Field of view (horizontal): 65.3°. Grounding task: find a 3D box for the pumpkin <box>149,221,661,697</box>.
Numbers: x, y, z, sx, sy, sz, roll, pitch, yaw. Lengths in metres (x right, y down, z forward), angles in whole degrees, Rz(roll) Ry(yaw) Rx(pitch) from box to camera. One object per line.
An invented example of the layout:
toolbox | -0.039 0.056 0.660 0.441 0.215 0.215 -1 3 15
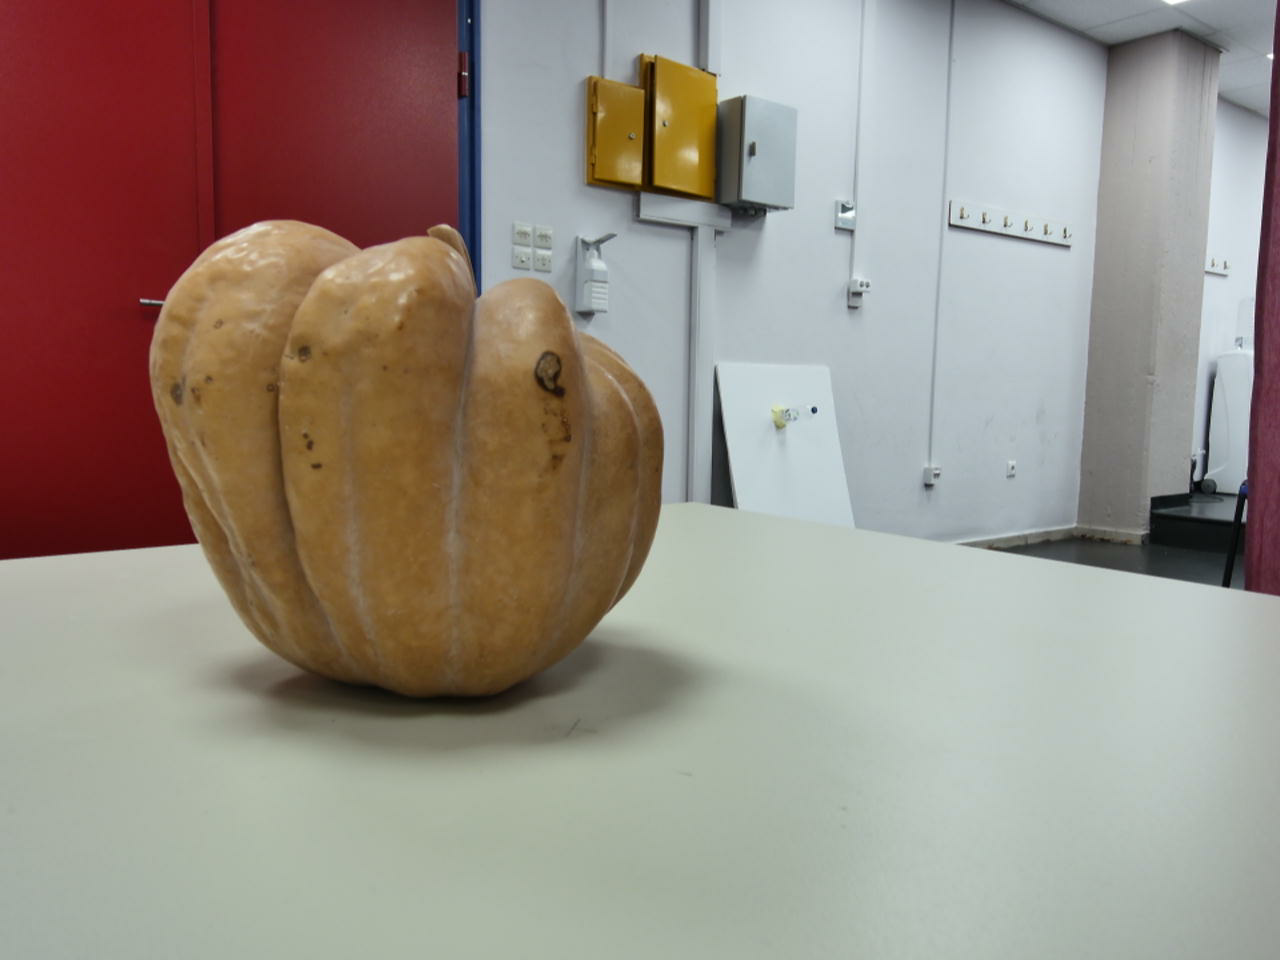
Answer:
pumpkin | -0.088 -0.008 0.391 0.199 0.177 0.198 0 4 0
